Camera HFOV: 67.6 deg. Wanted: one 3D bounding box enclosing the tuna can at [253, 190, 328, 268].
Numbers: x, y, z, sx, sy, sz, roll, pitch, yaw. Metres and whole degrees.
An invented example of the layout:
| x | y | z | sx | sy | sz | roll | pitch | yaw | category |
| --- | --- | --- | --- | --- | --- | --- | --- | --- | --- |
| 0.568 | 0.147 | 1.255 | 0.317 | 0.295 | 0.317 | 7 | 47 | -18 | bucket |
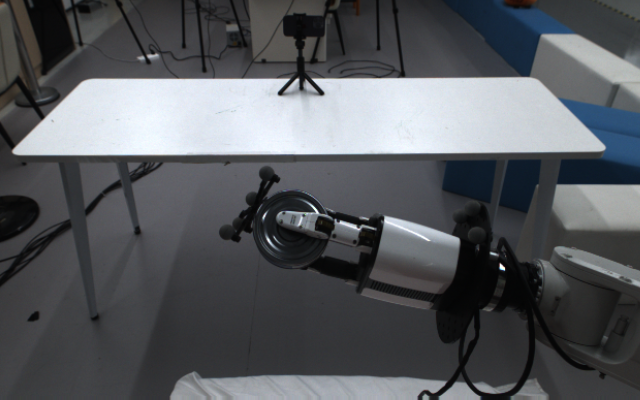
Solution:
| x | y | z | sx | sy | sz | roll | pitch | yaw | category |
| --- | --- | --- | --- | --- | --- | --- | --- | --- | --- |
| -0.027 | 0.036 | 0.533 | 0.085 | 0.034 | 0.085 | 1 | 76 | -5 | tuna can |
